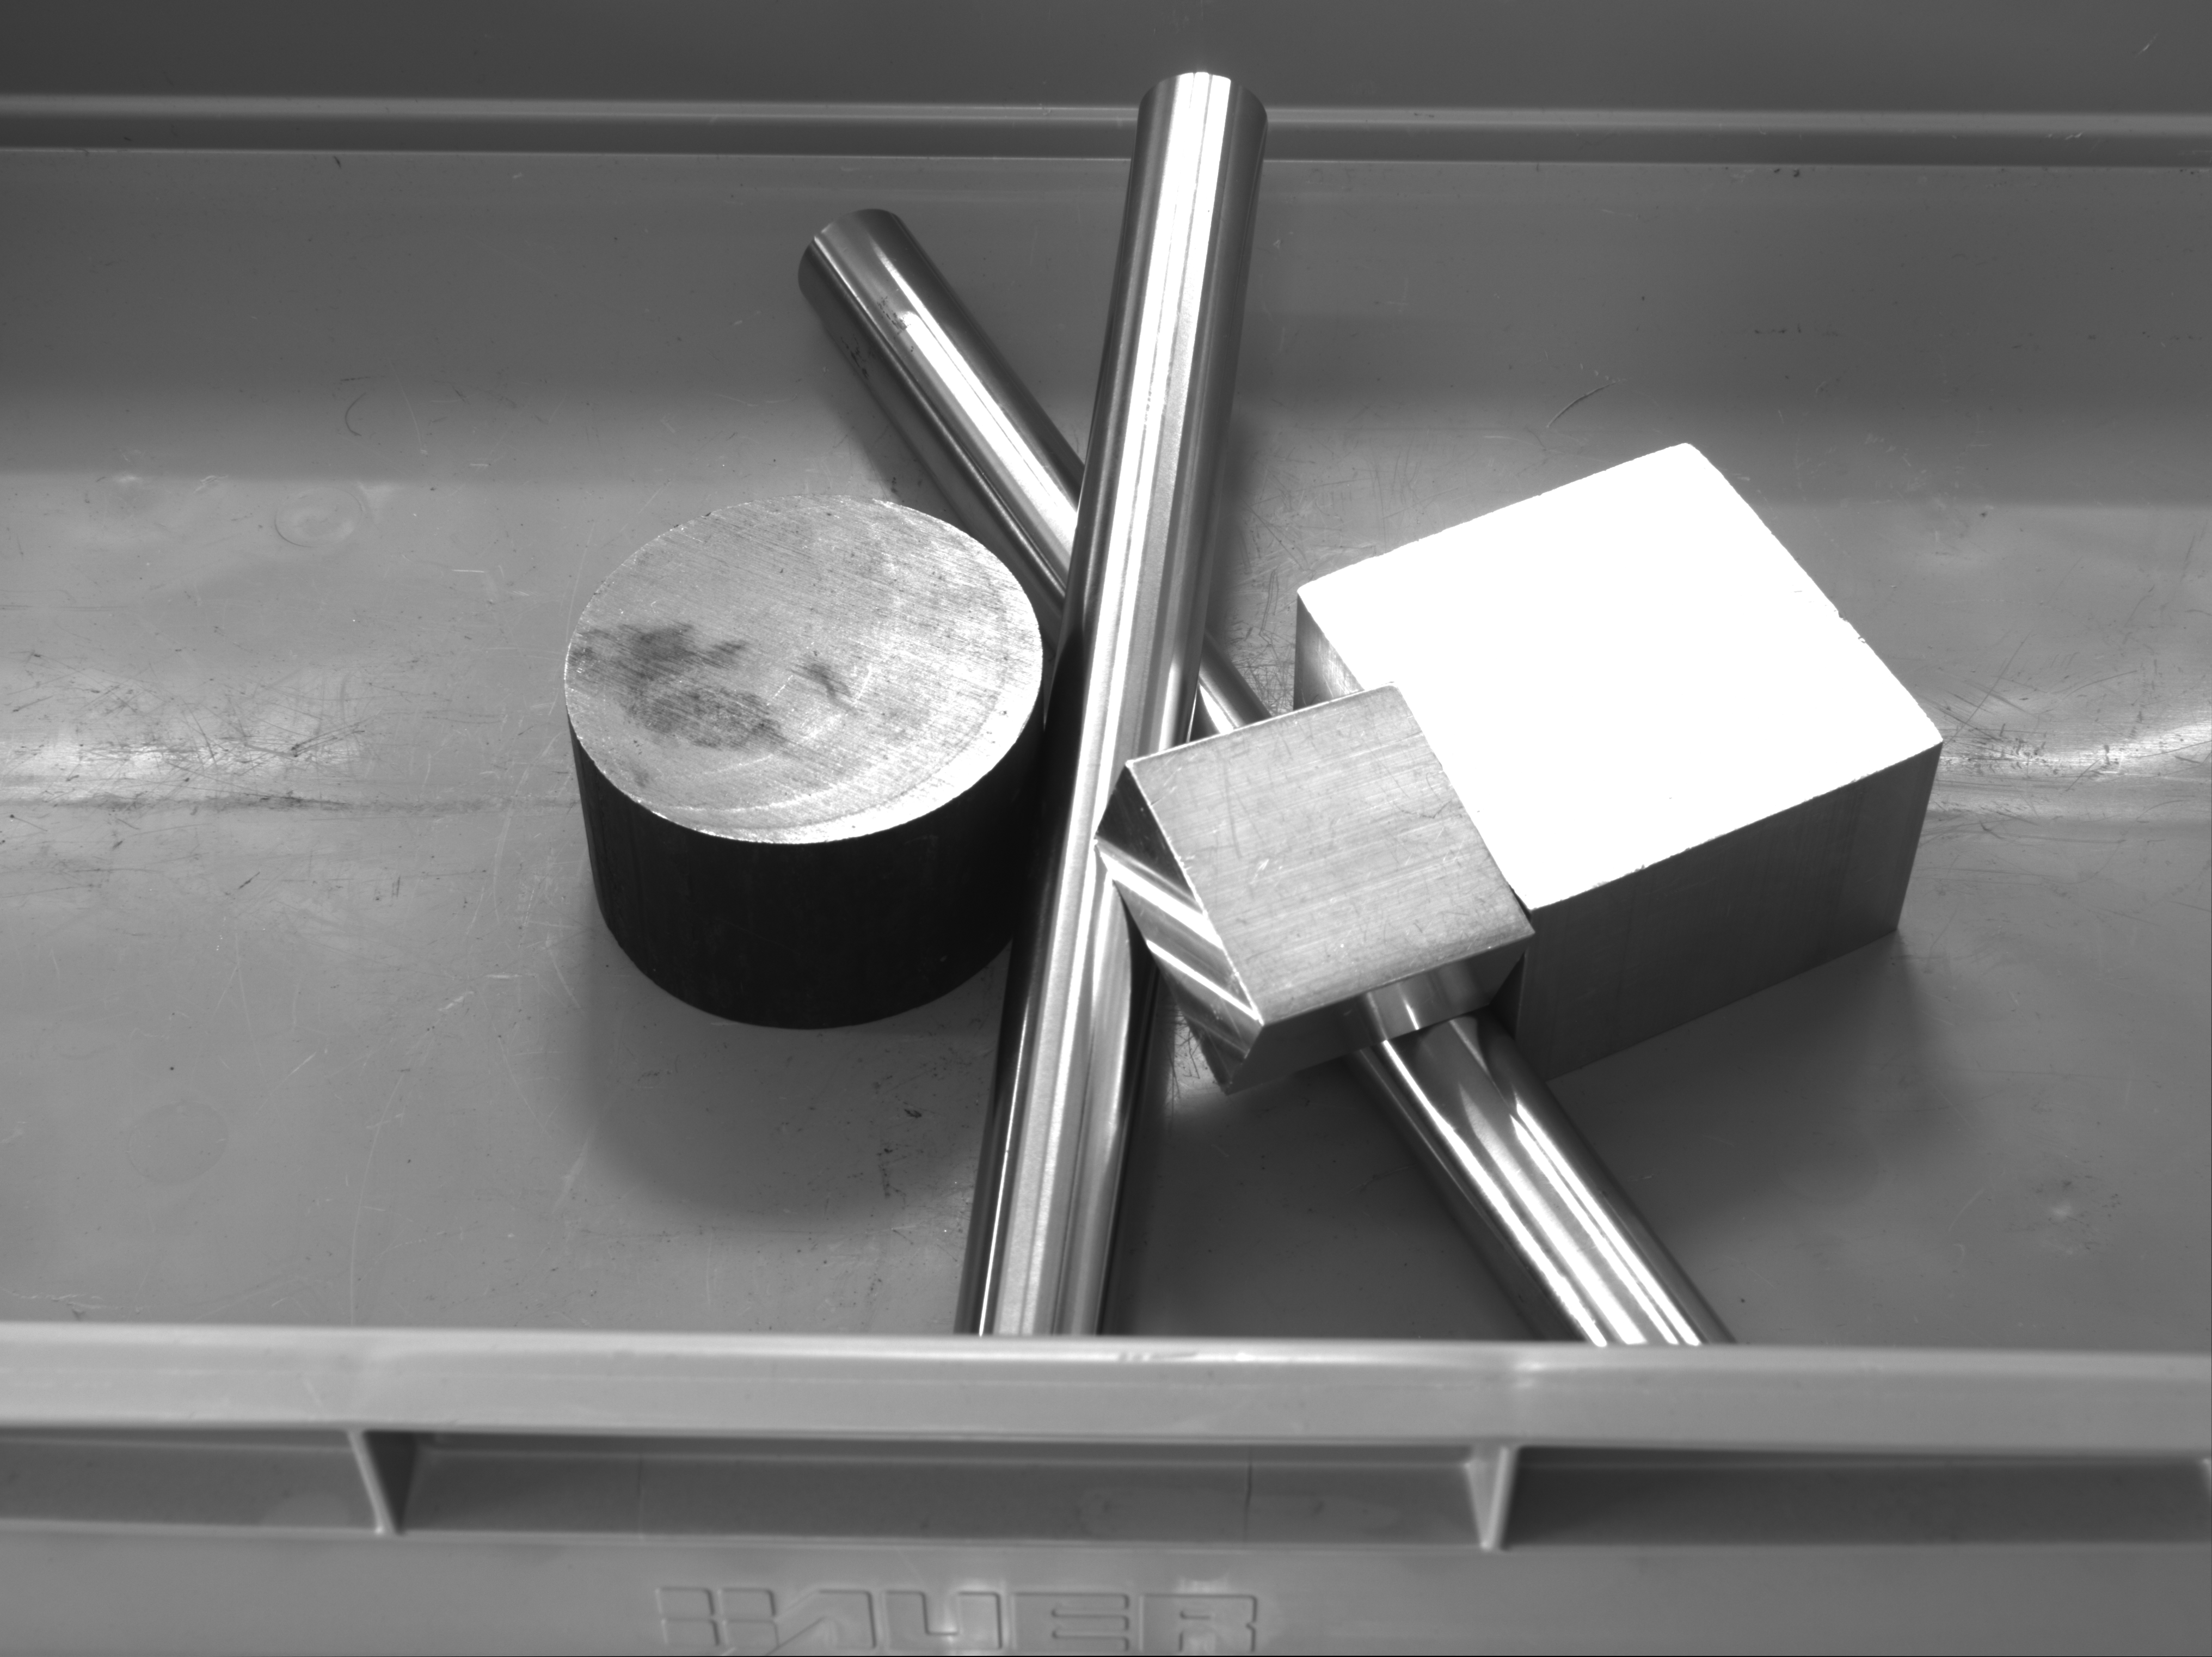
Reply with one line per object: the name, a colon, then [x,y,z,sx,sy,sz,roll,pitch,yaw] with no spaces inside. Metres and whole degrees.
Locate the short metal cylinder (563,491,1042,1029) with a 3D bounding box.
short metal cylinder: [-0.051,-0.012,0.635,0.080,0.050,0.080,0,50,0]

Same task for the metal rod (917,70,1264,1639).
metal rod: [0.001,-0.010,0.624,0.025,0.025,0.300,5,58,4]

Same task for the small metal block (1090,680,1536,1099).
small metal block: [0.033,0.009,0.591,0.050,0.025,0.050,-17,66,-24]

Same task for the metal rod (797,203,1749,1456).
metal rod: [0.019,-0.013,0.652,0.025,0.025,0.299,-22,54,-17]

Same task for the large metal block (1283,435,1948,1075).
large metal block: [0.085,-0.012,0.634,0.080,0.050,0.080,-21,53,-17]
